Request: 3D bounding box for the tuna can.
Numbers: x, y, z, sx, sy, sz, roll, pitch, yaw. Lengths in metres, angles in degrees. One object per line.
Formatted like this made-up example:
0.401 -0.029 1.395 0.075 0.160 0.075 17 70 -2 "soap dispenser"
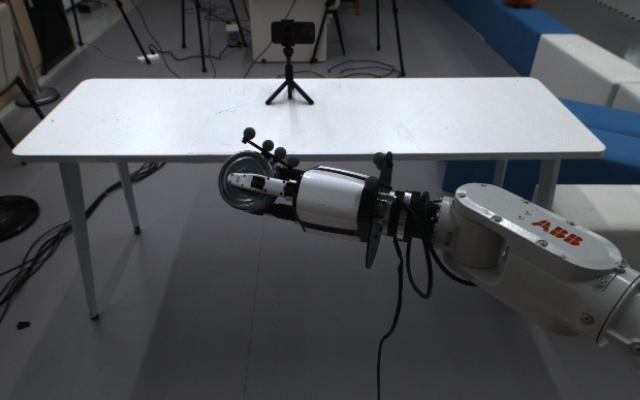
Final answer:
-0.097 -0.020 0.685 0.085 0.085 0.034 13 -4 15 "tuna can"
